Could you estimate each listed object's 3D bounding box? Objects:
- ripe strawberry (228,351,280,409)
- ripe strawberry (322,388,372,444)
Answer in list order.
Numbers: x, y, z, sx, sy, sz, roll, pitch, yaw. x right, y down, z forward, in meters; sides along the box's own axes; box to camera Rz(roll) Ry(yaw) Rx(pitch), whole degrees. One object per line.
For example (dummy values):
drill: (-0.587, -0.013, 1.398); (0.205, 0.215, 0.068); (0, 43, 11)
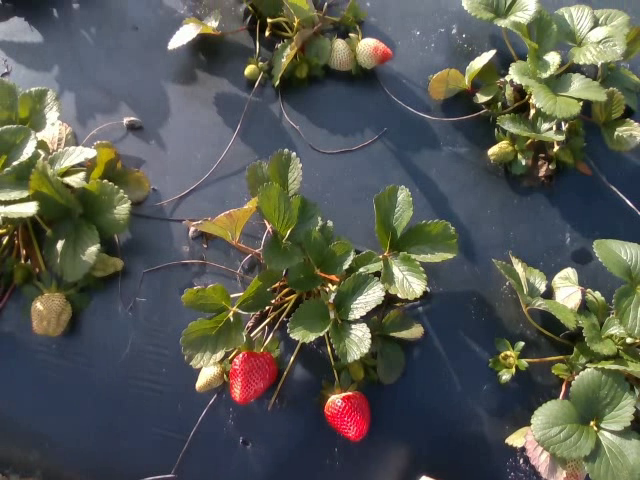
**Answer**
ripe strawberry: (-0.047, 0.090, 0.424); (0.035, 0.041, 0.036); (12, 45, 12)
ripe strawberry: (0.018, 0.116, 0.423); (0.033, 0.038, 0.039); (25, 34, -18)
